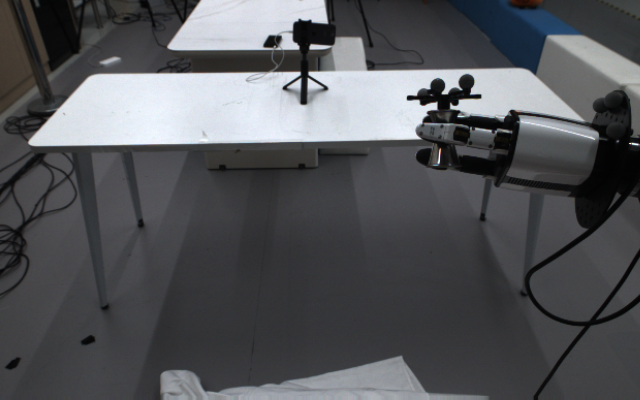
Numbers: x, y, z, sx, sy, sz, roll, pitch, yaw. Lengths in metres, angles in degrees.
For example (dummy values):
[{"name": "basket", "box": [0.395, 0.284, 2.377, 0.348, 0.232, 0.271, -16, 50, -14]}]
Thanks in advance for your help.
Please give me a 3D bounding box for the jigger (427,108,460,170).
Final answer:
[{"name": "jigger", "box": [0.152, -0.075, 0.599, 0.043, 0.071, 0.043, -1, 2, 0]}]
